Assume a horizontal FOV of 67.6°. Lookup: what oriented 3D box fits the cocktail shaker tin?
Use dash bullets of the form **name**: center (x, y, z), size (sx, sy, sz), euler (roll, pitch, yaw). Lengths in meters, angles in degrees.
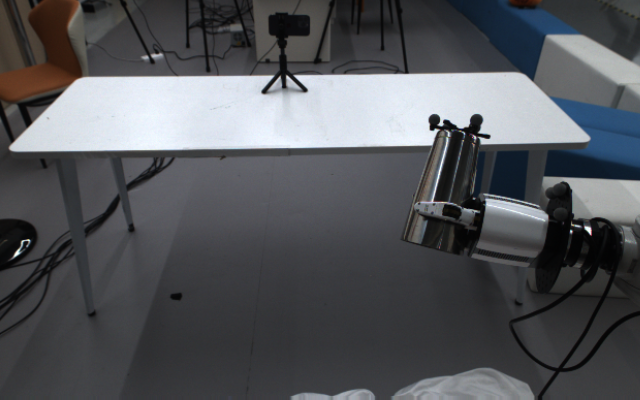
- **cocktail shaker tin**: center (0.183, -0.012, 0.713), size (0.093, 0.170, 0.093), euler (15, -4, 1)
